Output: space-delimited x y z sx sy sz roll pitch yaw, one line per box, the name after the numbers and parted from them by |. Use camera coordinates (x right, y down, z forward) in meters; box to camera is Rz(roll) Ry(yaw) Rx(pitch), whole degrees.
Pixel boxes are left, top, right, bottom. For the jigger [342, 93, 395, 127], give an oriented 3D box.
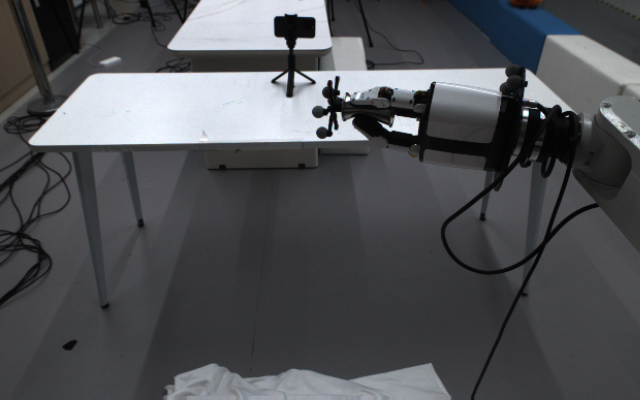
0.074 -0.130 0.668 0.071 0.043 0.043 8 35 15 | jigger
